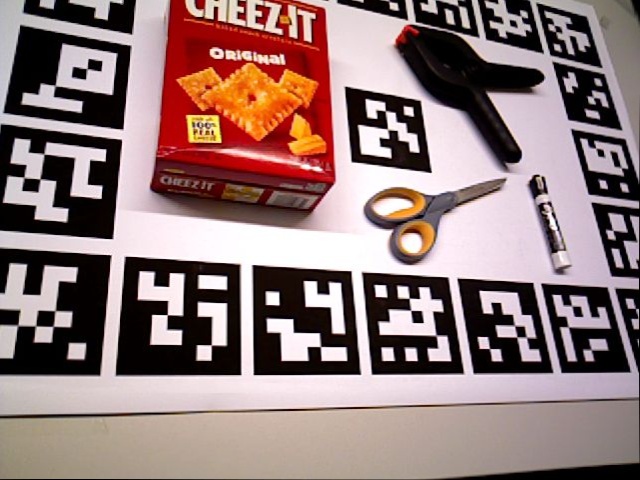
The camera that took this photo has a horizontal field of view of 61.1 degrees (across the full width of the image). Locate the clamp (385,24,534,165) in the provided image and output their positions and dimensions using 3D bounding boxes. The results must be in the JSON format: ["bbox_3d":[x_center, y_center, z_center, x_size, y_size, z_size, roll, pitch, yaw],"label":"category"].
[{"bbox_3d":[0.171,-0.205,0.687,0.202,0.037,0.162,32,59,-6],"label":"clamp"}]

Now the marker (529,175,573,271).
[{"bbox_3d":[0.272,-0.023,0.642,0.019,0.020,0.120,1,68,-21],"label":"marker"}]

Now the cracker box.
[{"bbox_3d":[-0.074,-0.141,0.531,0.162,0.073,0.211,6,66,-19],"label":"cracker box"}]

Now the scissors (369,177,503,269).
[{"bbox_3d":[0.139,-0.038,0.598,0.198,0.016,0.087,-26,78,-30],"label":"scissors"}]
